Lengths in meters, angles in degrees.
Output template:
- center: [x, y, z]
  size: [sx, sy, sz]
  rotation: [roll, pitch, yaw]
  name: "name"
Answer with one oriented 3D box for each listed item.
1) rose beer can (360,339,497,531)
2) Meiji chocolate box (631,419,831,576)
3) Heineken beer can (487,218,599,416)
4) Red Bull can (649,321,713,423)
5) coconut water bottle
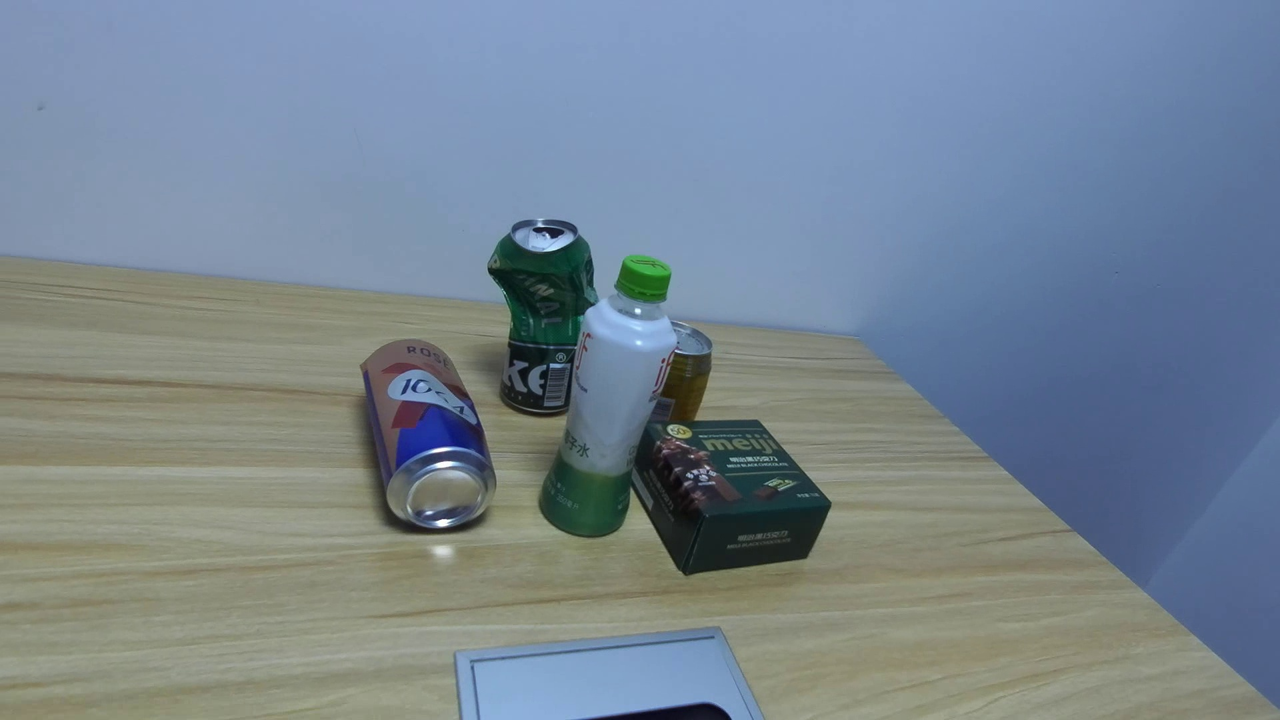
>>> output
- center: [-0.149, 0.043, 0.497]
  size: [0.070, 0.069, 0.167]
  rotation: [-17, 35, -16]
  name: "rose beer can"
- center: [0.063, 0.096, 0.522]
  size: [0.110, 0.056, 0.108]
  rotation: [2, 29, -26]
  name: "Meiji chocolate box"
- center: [-0.076, -0.033, 0.586]
  size: [0.079, 0.159, 0.067]
  rotation: [-18, 35, -41]
  name: "Heineken beer can"
- center: [0.020, 0.019, 0.600]
  size: [0.069, 0.092, 0.069]
  rotation: [14, 25, -6]
  name: "Red Bull can"
- center: [-0.018, 0.025, 0.461]
  size: [0.063, 0.188, 0.063]
  rotation: [13, 26, -6]
  name: "coconut water bottle"
